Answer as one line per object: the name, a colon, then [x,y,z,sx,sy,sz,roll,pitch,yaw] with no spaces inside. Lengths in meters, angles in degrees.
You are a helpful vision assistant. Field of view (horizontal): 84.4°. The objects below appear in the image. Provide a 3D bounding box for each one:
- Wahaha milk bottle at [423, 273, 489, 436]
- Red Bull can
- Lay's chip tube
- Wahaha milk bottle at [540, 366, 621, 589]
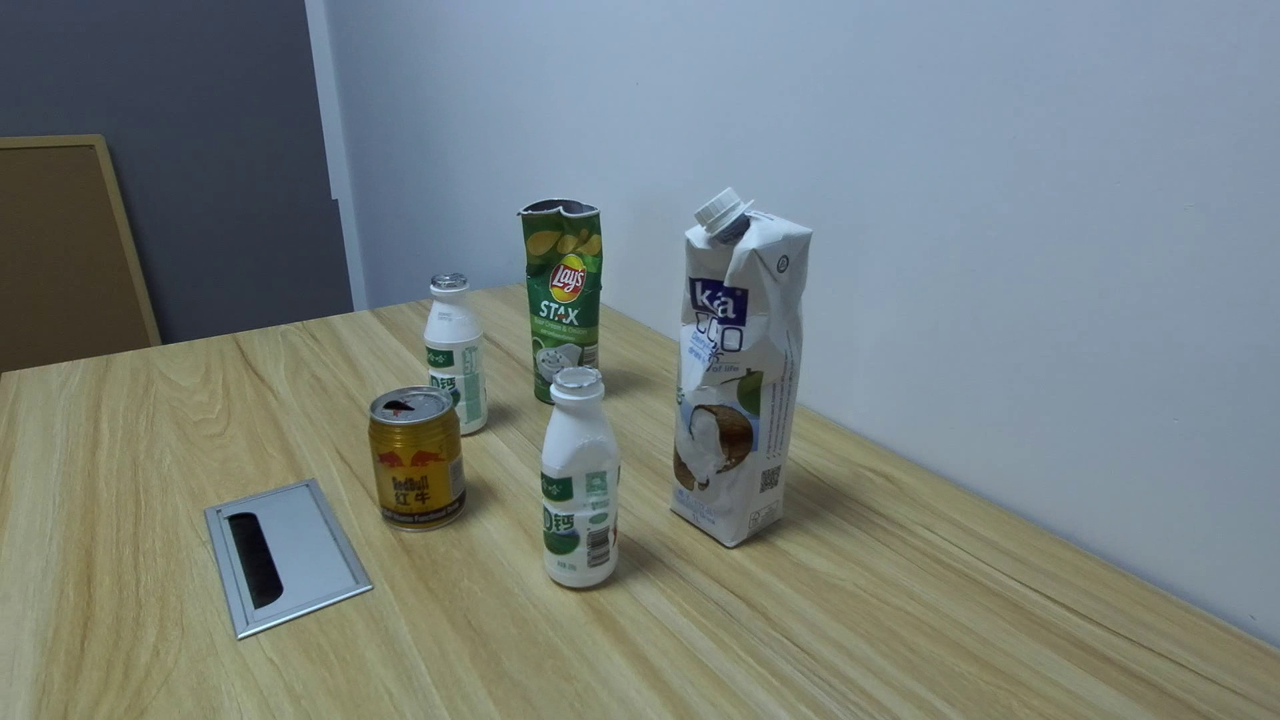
Wahaha milk bottle: [-0.171,-0.004,0.653,0.053,0.147,0.053,0,22,0]
Red Bull can: [-0.170,0.075,0.541,0.067,0.093,0.067,0,23,0]
Lay's chip tube: [-0.075,-0.058,0.708,0.077,0.201,0.069,-4,24,-7]
Wahaha milk bottle: [-0.041,0.078,0.466,0.055,0.149,0.055,0,24,0]
